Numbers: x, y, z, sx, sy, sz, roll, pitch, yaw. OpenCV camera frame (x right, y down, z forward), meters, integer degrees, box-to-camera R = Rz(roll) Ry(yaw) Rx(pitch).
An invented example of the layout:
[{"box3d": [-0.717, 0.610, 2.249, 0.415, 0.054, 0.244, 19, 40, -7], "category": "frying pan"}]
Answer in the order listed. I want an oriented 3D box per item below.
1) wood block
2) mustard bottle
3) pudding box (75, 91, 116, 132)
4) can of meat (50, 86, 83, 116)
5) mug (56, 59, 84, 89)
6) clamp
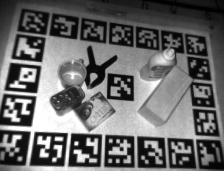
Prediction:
[{"box3d": [0.195, 0.034, 0.785, 0.090, 0.091, 0.207, 38, 66, 4], "category": "wood block"}, {"box3d": [0.165, -0.084, 0.758, 0.097, 0.191, 0.058, -2, 73, -11], "category": "mustard bottle"}, {"box3d": [-0.056, 0.089, 0.734, 0.114, 0.038, 0.090, -37, 83, -22], "category": "pudding box"}, {"box3d": [-0.147, 0.053, 0.696, 0.102, 0.083, 0.057, -27, 80, -19], "category": "can of meat"}, {"box3d": [-0.141, -0.039, 0.758, 0.093, 0.081, 0.117, 25, 70, -3], "category": "mug"}, {"box3d": [-0.060, -0.070, 0.791, 0.122, 0.036, 0.165, 23, 71, -6], "category": "clamp"}]
